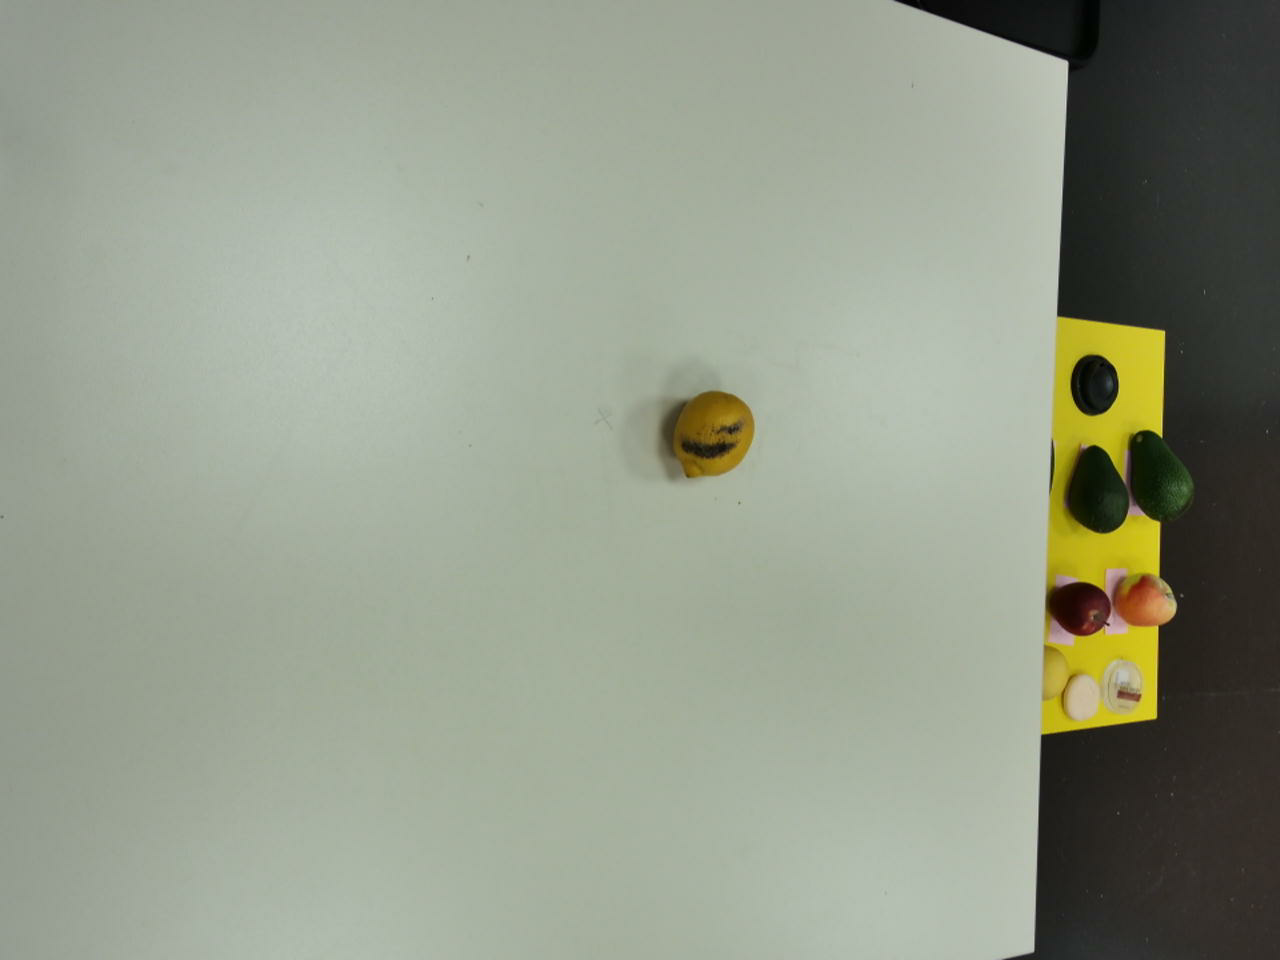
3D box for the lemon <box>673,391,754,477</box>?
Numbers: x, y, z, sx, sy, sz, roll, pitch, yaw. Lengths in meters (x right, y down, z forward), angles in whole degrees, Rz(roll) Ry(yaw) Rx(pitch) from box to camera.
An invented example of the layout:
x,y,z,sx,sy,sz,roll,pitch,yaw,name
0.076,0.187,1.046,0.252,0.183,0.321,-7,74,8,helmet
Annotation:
x,y,z,sx,sy,sz,roll,pitch,yaw,name
0.053,-0.033,0.719,0.058,0.056,0.061,-5,93,-28,lemon
